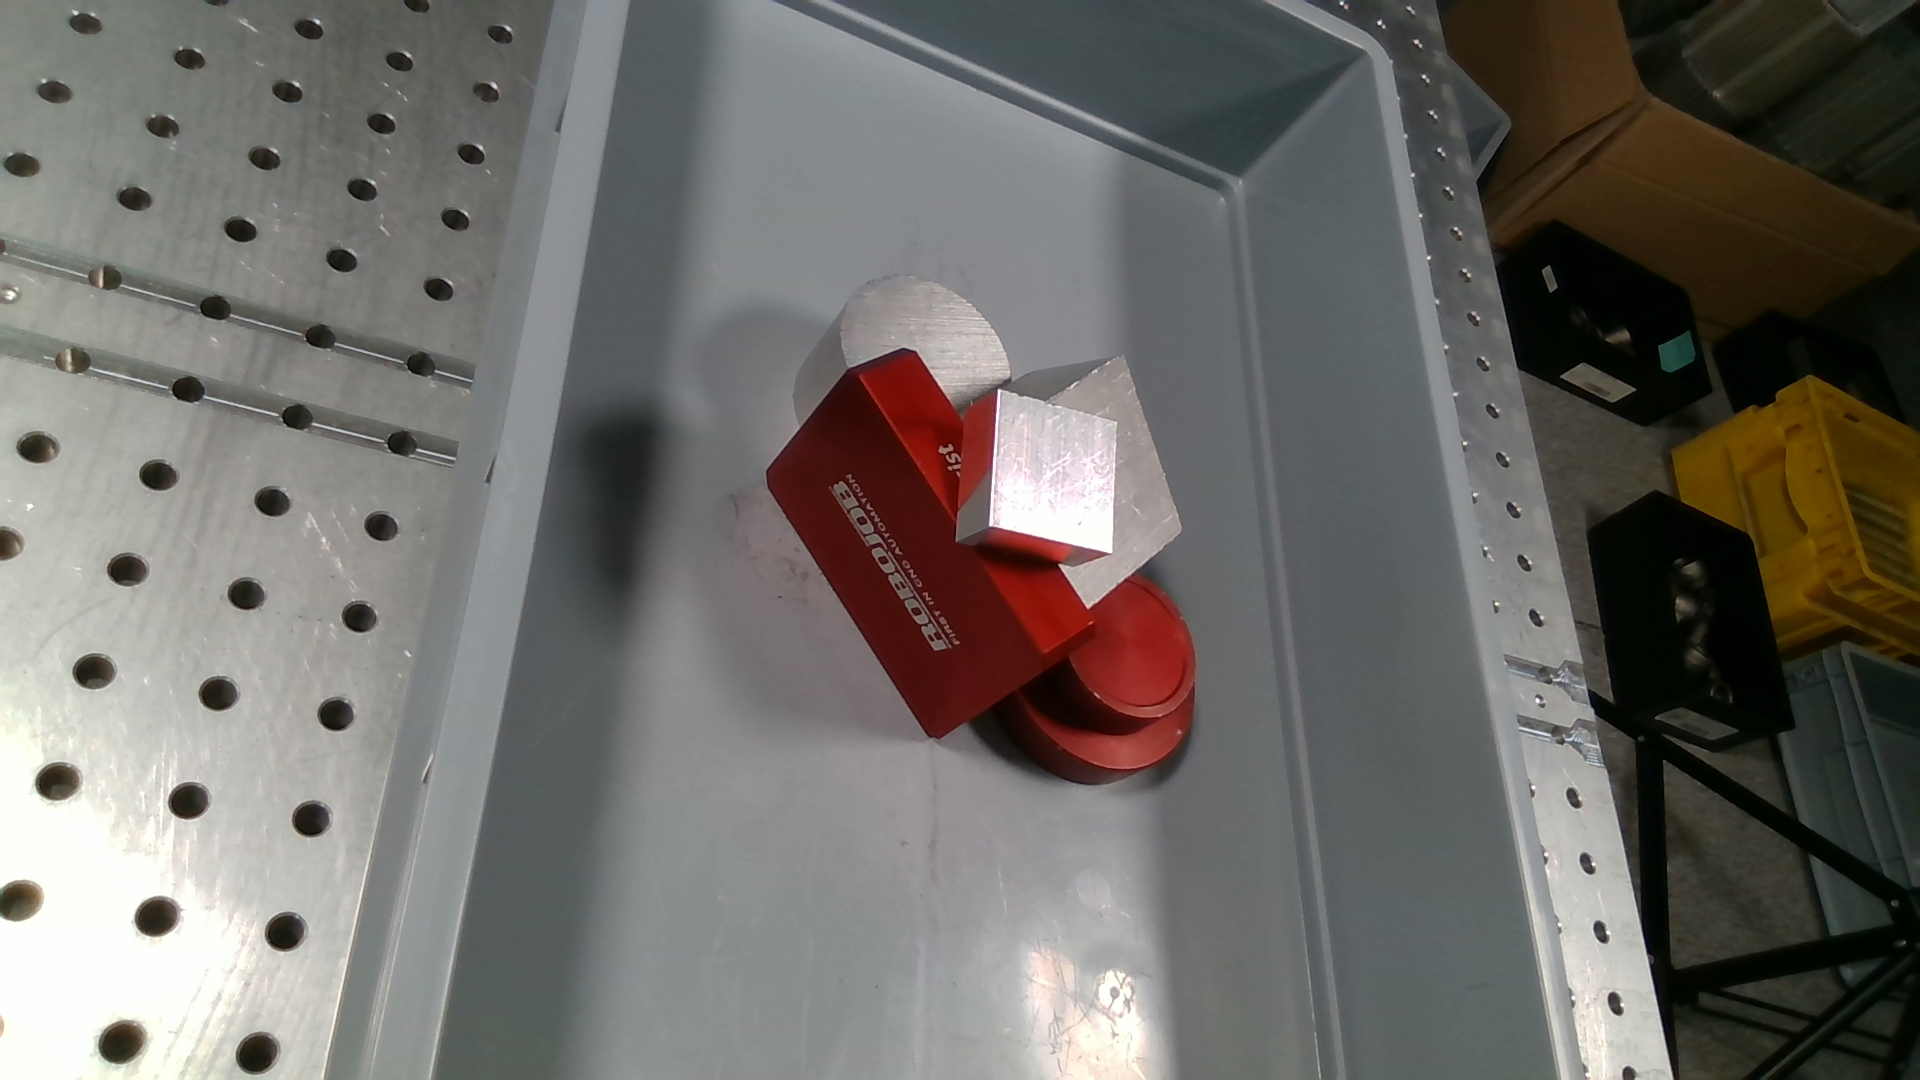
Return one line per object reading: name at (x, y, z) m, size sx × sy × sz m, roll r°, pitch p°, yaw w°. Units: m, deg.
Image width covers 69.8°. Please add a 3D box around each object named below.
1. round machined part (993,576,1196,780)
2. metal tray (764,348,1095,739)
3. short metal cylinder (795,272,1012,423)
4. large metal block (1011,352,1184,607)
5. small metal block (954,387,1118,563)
round machined part at (0.060, 0.050, 0.584) m, size 0.098 × 0.042 × 0.098 m, roll 14°, pitch 59°, yaw -25°
metal tray at (-0.015, 0.003, 0.531) m, size 0.030 × 0.090 × 0.130 m, roll -28°, pitch 82°, yaw -39°
short metal cylinder at (-0.025, -0.066, 0.588) m, size 0.080 × 0.050 × 0.080 m, roll 14°, pitch 59°, yaw -25°
large metal block at (0.037, -0.021, 0.556) m, size 0.080 × 0.050 × 0.080 m, roll -35°, pitch 111°, yaw -39°
small metal block at (0.027, -0.022, 0.490) m, size 0.050 × 0.025 × 0.050 m, roll 12°, pitch 73°, yaw -27°
